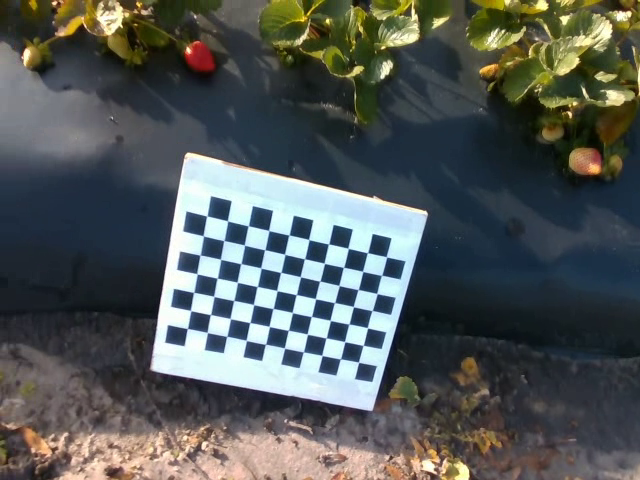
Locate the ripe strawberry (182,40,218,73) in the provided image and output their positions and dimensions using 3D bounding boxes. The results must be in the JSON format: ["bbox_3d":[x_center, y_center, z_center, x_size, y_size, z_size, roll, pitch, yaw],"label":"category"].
[{"bbox_3d":[-0.122,-0.194,0.825,0.045,0.030,0.033,47,9,16],"label":"ripe strawberry"}]
